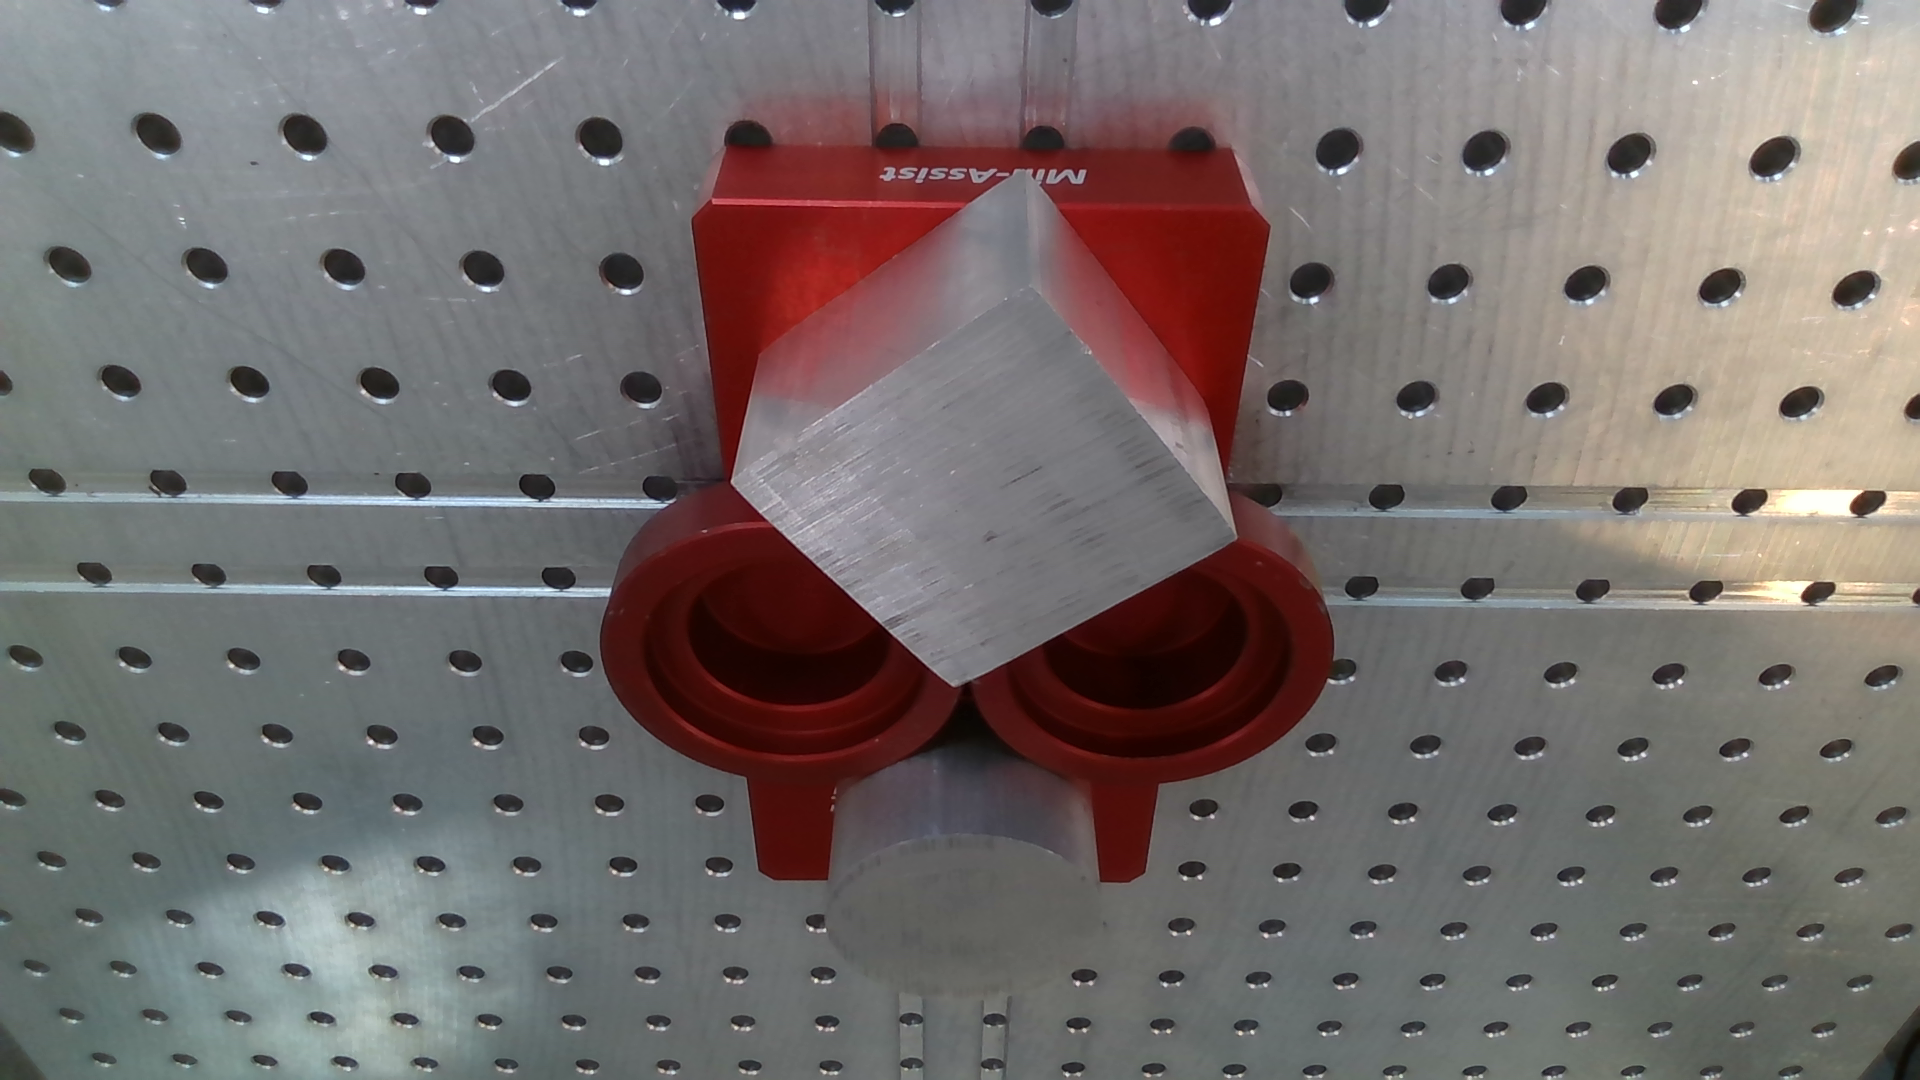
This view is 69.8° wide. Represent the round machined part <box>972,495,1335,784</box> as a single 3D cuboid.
[{"bbox_3d":[0.051,0.021,0.386,0.098,0.042,0.098,0,130,0],"label":"round machined part"}]

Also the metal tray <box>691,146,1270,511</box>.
[{"bbox_3d":[0.004,-0.050,0.346,0.130,0.030,0.090,0,131,0],"label":"metal tray"}]

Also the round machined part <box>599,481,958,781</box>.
[{"bbox_3d":[-0.047,0.020,0.386,0.098,0.042,0.098,0,130,0],"label":"round machined part"}]

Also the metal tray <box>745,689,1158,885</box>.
[{"bbox_3d":[-0.003,0.073,0.447,0.130,0.030,0.090,1,130,0],"label":"metal tray"}]

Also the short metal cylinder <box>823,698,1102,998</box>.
[{"bbox_3d":[0.001,0.094,0.414,0.080,0.050,0.080,0,130,0],"label":"short metal cylinder"}]

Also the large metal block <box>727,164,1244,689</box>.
[{"bbox_3d":[0.007,-0.023,0.317,0.080,0.050,0.080,-30,124,23],"label":"large metal block"}]
